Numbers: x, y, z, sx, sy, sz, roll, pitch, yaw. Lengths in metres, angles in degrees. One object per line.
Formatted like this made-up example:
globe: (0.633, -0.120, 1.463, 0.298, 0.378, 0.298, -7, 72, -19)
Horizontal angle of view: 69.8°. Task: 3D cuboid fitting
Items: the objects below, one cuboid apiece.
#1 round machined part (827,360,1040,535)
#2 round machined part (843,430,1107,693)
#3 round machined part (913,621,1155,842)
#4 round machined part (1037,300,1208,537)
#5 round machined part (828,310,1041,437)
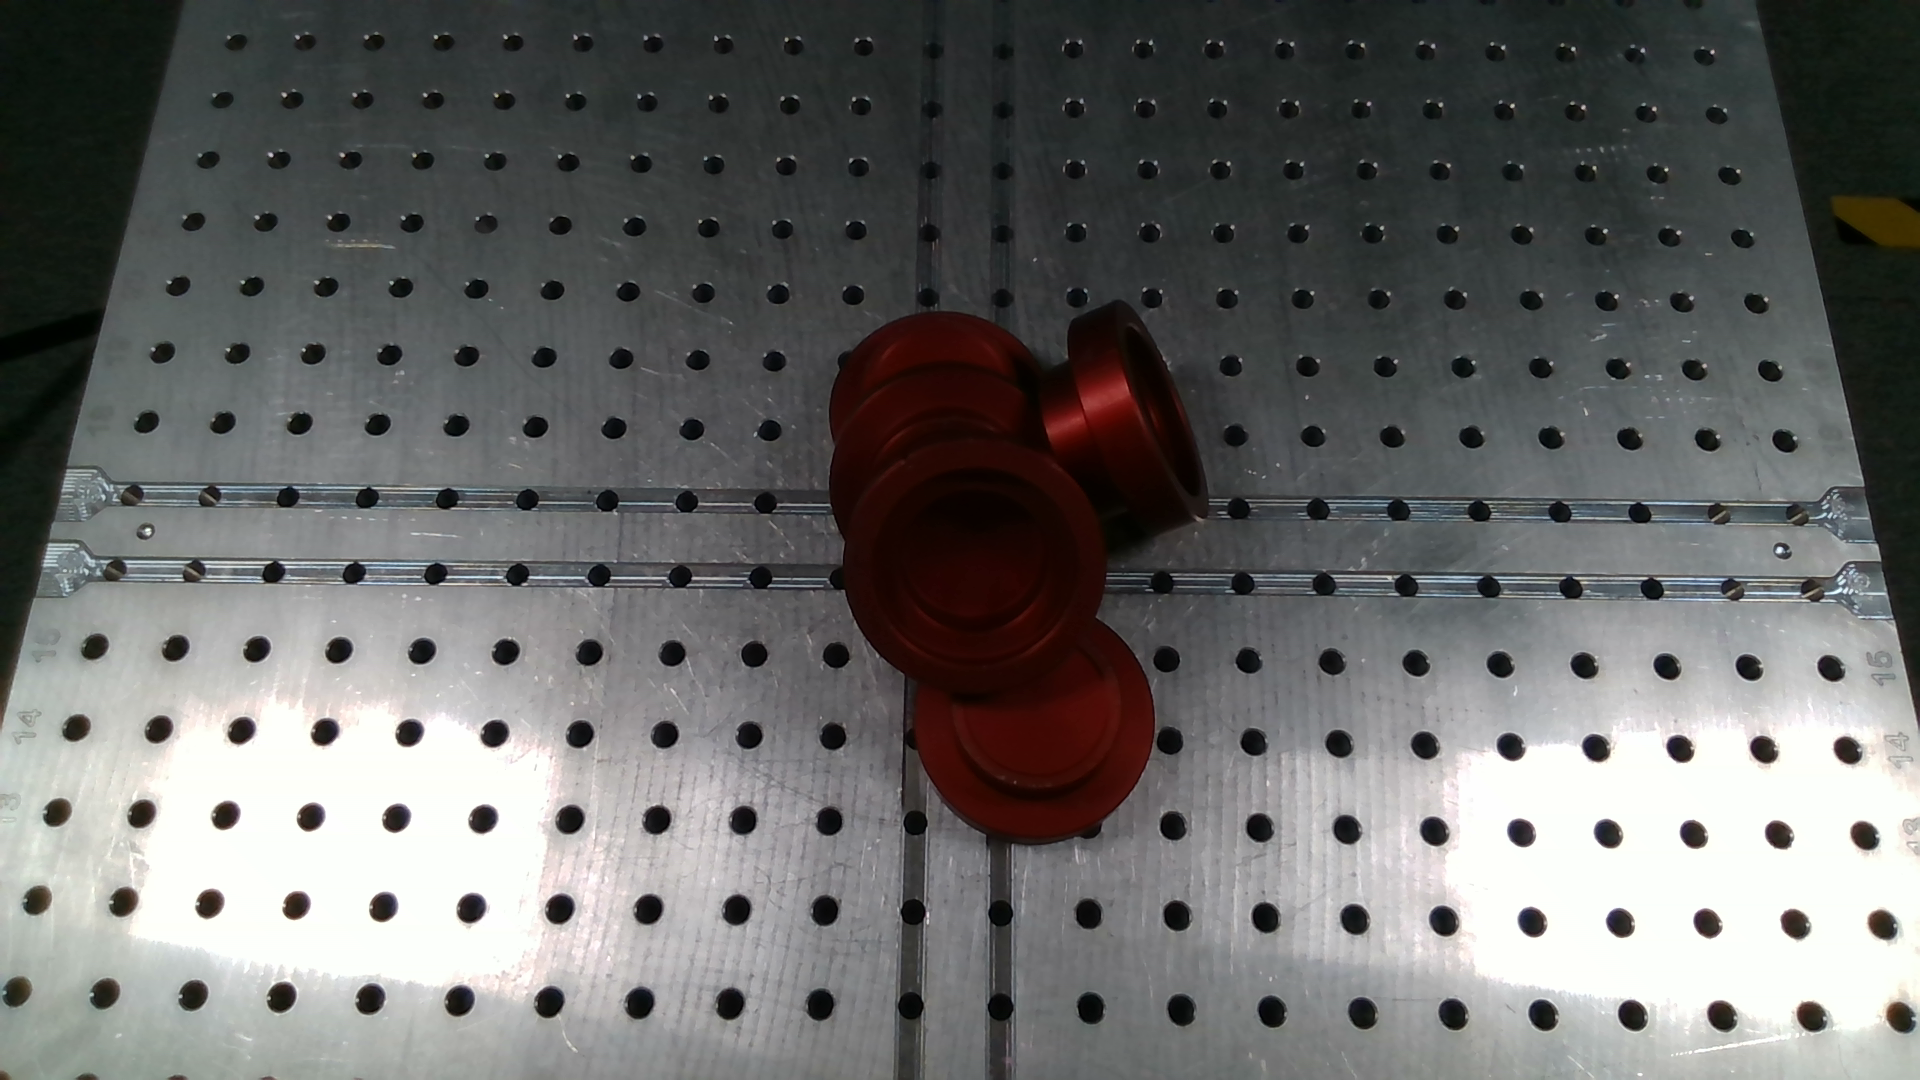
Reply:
round machined part: (-0.005, -0.022, 0.564, 0.098, 0.042, 0.098, -1, 107, -3)
round machined part: (0.005, 0.006, 0.529, 0.098, 0.042, 0.098, 0, 103, -1)
round machined part: (0.030, 0.071, 0.556, 0.098, 0.042, 0.098, 0, 70, 0)
round machined part: (0.066, -0.047, 0.574, 0.042, 0.098, 0.098, -21, 69, 20)
round machined part: (-0.009, -0.058, 0.602, 0.098, 0.042, 0.098, 0, 70, 0)
